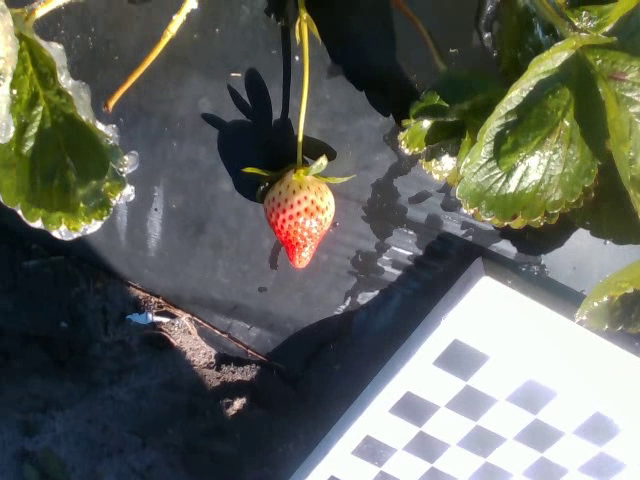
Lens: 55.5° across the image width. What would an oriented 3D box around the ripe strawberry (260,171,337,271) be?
[{"bbox_3d":[-0.009,-0.009,0.292,0.039,0.053,0.041,9,16,3],"label":"ripe strawberry"}]
